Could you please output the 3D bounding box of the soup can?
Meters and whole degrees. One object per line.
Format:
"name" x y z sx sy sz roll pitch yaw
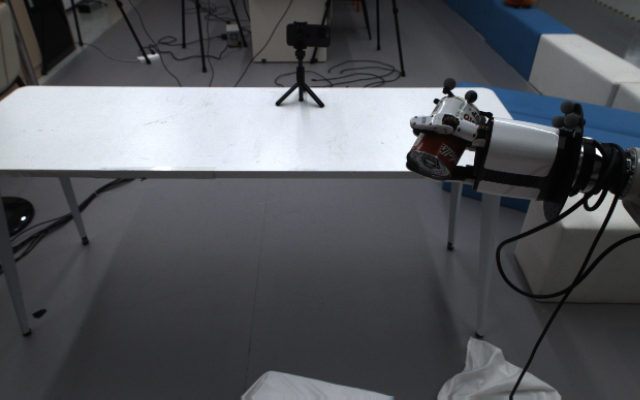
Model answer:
"soup can" 0.177 -0.089 0.683 0.067 0.067 0.101 23 72 27
